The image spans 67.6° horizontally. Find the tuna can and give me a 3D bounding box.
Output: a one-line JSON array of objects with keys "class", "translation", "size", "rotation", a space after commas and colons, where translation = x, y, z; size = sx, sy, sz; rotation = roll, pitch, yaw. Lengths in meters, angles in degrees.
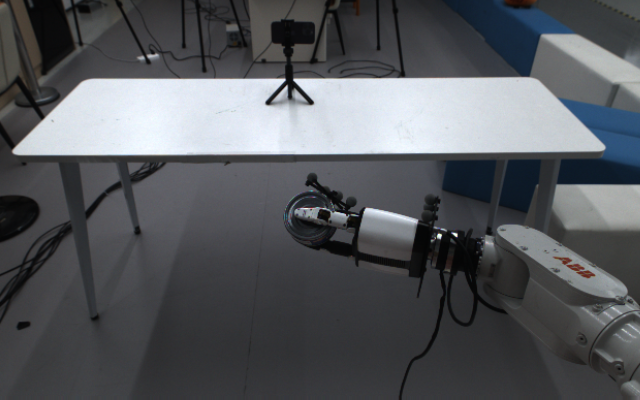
[{"class": "tuna can", "translation": [-0.014, 0.028, 0.779], "size": [0.085, 0.034, 0.085], "rotation": [-4, 69, 10]}]
